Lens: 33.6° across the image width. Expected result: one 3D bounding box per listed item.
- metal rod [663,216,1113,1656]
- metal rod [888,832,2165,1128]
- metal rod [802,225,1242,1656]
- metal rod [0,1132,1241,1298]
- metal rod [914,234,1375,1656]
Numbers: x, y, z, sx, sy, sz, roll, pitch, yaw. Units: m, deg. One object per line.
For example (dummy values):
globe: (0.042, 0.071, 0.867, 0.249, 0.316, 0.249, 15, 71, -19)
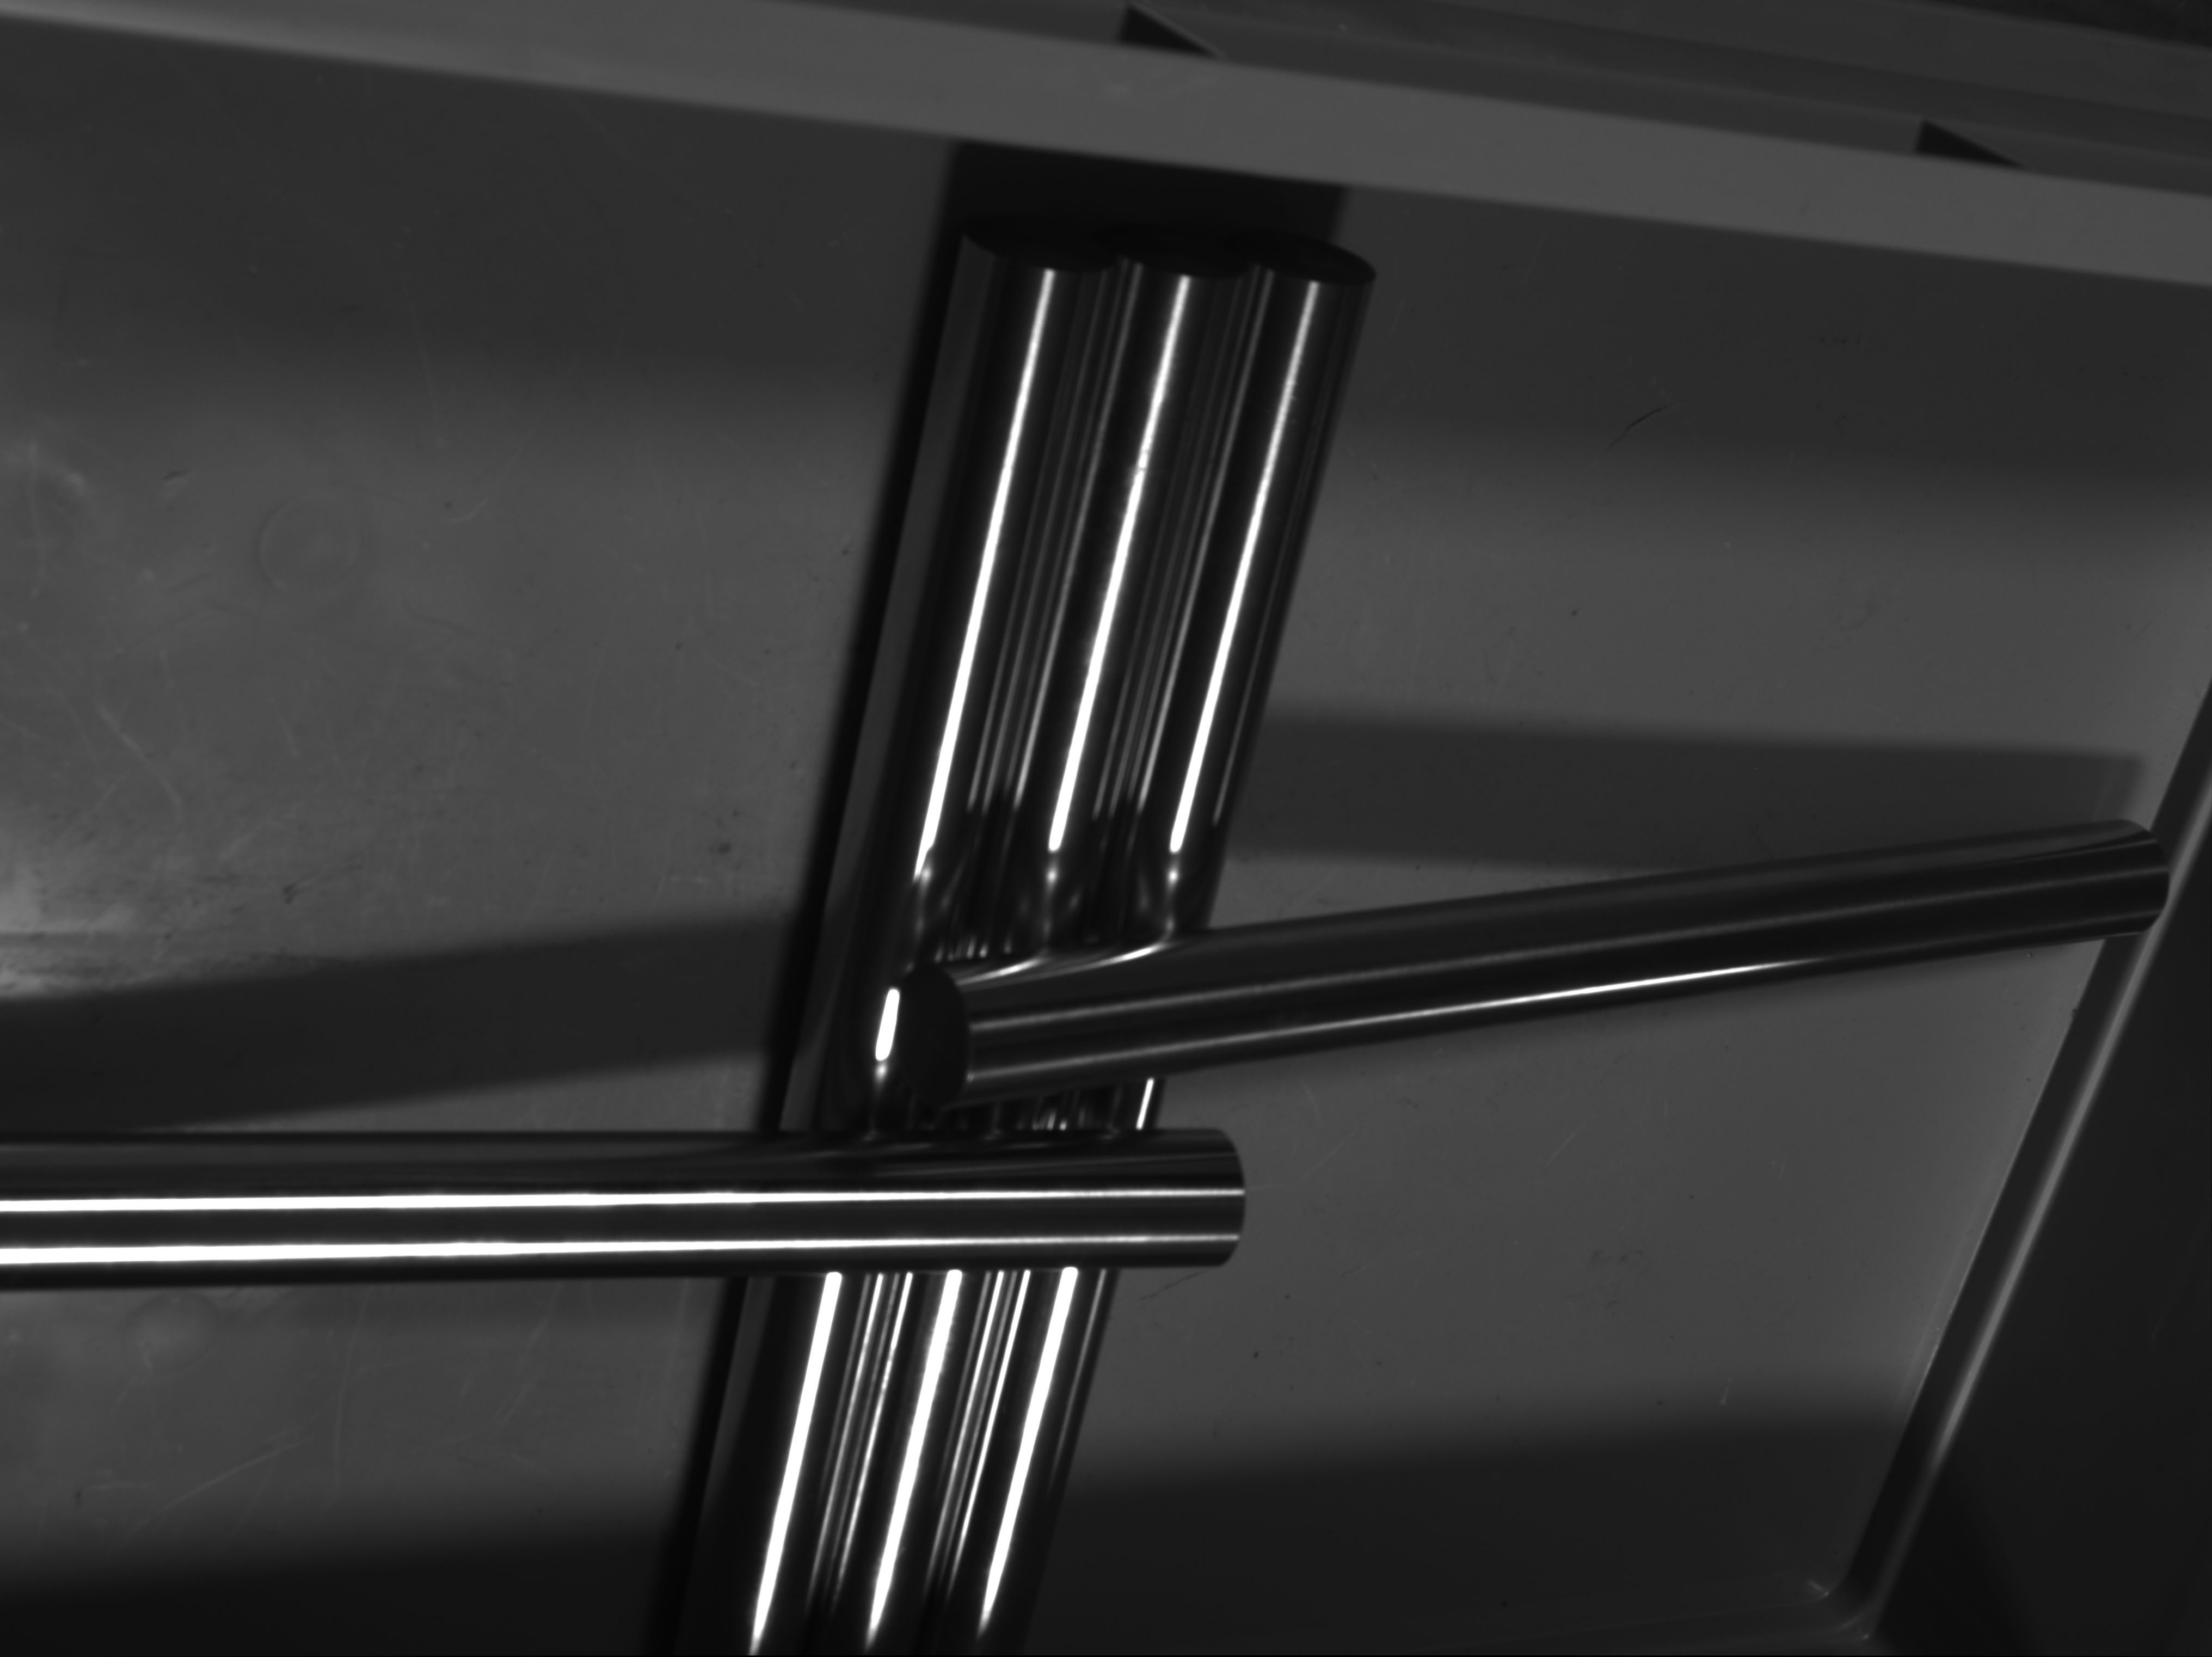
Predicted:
metal rod: (-0.043, 0.039, 0.648, 0.025, 0.025, 0.300, -1, 119, -30)
metal rod: (0.093, 0.025, 0.697, 0.301, 0.025, 0.025, -6, 121, -35)
metal rod: (-0.022, 0.038, 0.660, 0.025, 0.025, 0.300, -1, 119, -30)
metal rod: (-0.118, 0.063, 0.599, 0.301, 0.025, 0.025, 2, 117, -24)
metal rod: (0.000, 0.038, 0.673, 0.025, 0.025, 0.300, -1, 119, -30)
